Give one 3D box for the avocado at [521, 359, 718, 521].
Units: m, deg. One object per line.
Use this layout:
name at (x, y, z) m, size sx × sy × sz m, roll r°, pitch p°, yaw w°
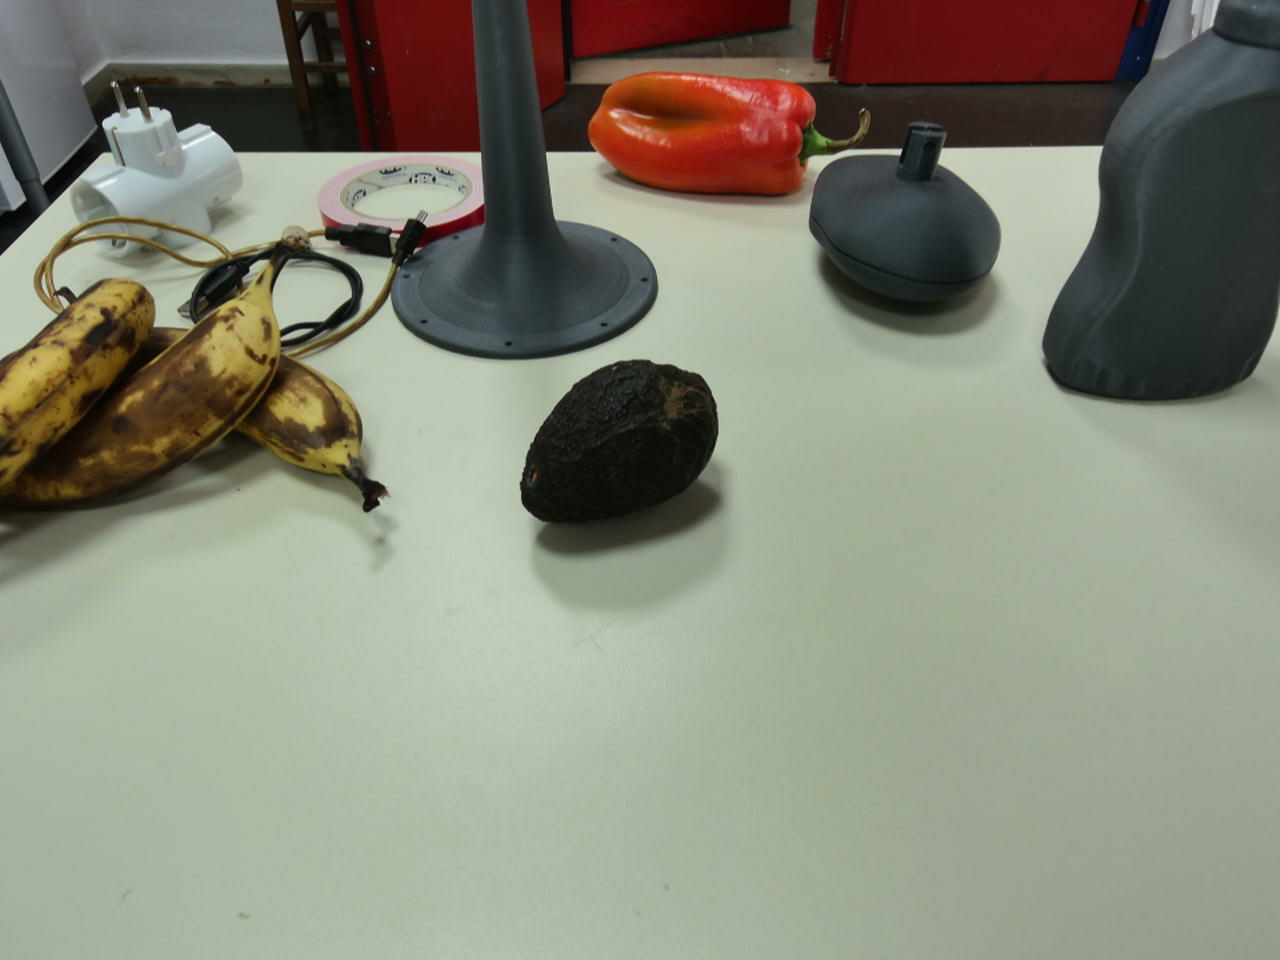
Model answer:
avocado at (-0.010, -0.018, 0.422) m, size 0.092 × 0.062 × 0.062 m, roll -15°, pitch 41°, yaw -18°
